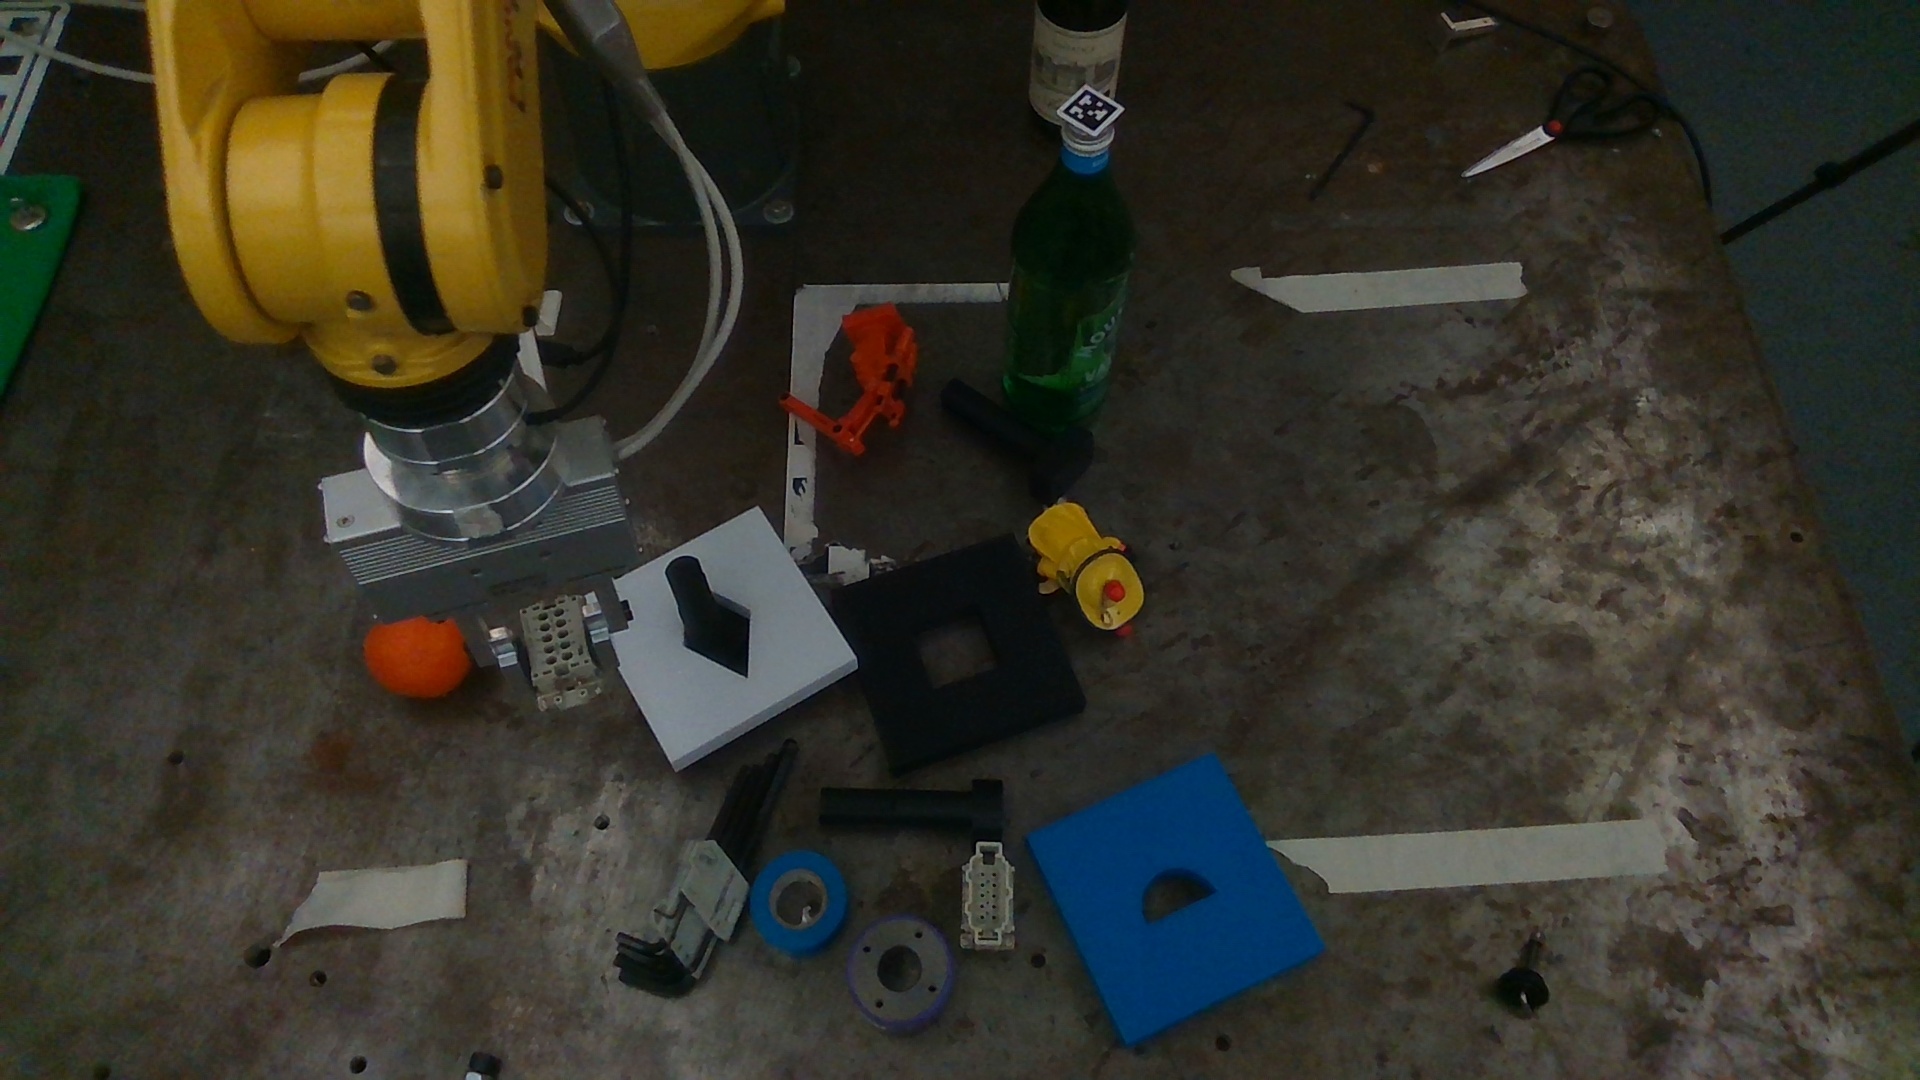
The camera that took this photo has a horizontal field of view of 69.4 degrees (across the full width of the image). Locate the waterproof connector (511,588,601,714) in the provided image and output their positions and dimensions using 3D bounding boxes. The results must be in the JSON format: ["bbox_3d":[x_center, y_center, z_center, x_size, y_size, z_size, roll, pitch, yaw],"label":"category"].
[{"bbox_3d":[-0.217,0.059,0.742,0.036,0.038,0.069,-12,65,-15],"label":"waterproof connector"}]
